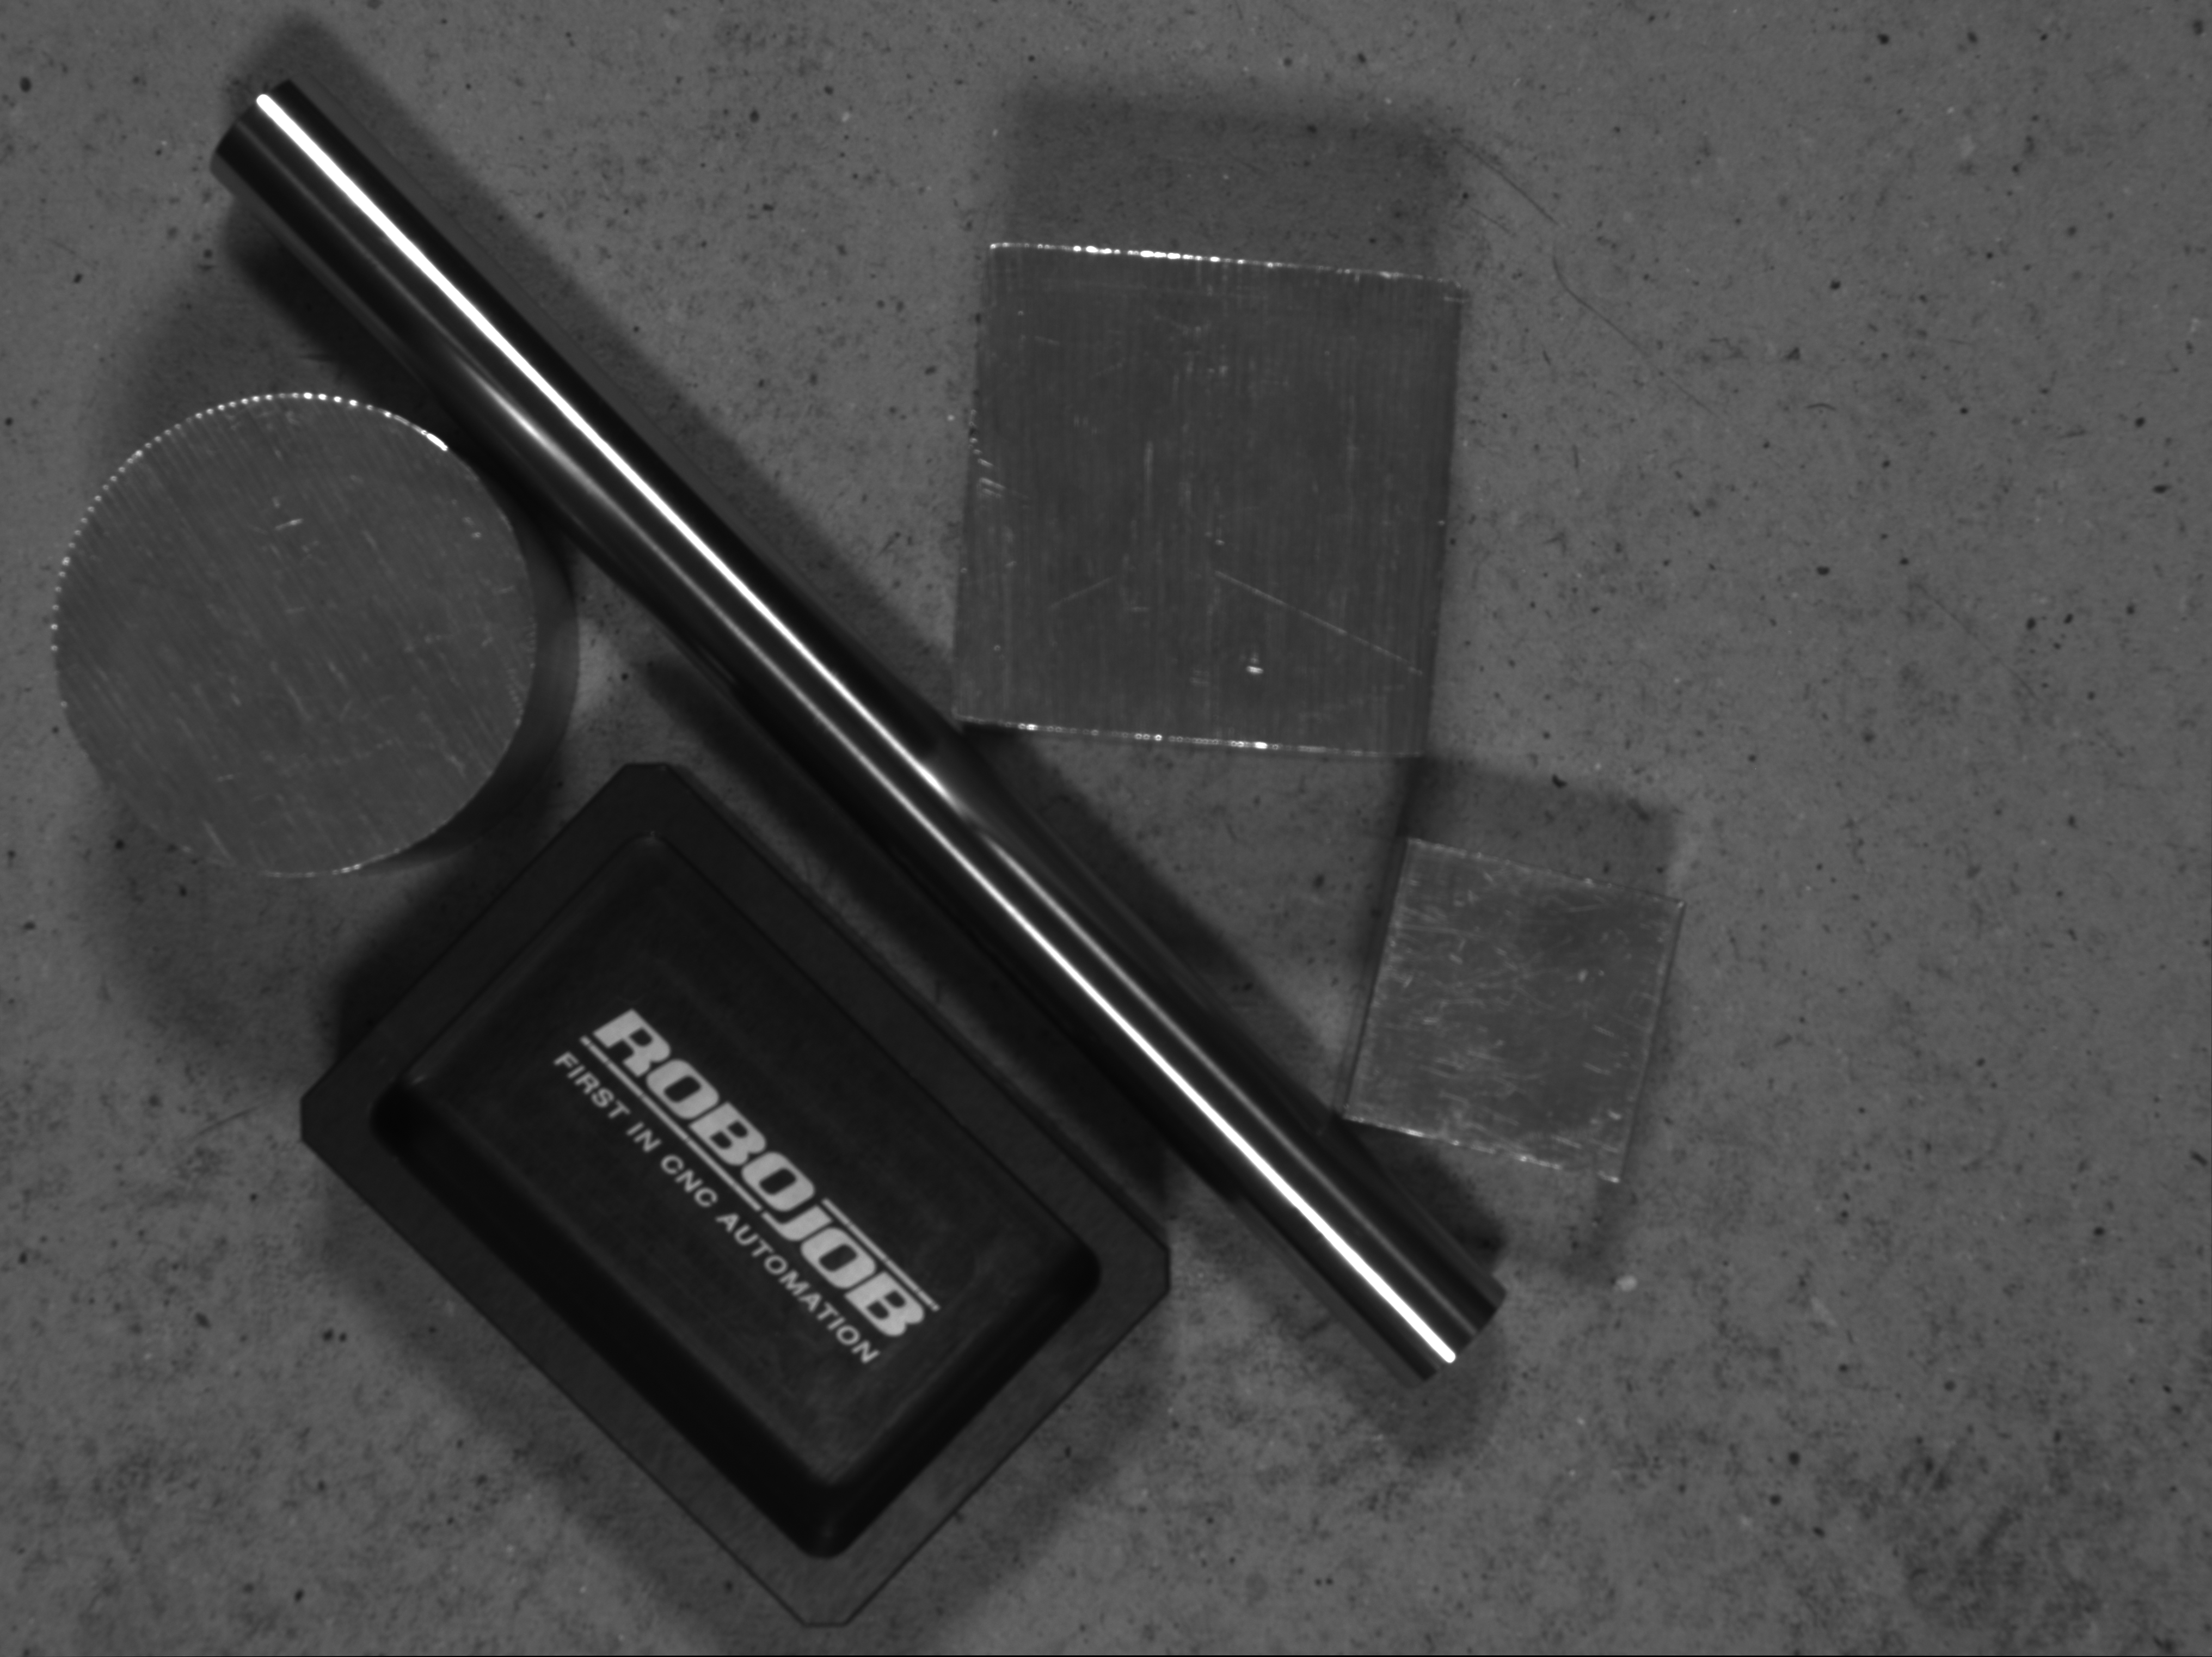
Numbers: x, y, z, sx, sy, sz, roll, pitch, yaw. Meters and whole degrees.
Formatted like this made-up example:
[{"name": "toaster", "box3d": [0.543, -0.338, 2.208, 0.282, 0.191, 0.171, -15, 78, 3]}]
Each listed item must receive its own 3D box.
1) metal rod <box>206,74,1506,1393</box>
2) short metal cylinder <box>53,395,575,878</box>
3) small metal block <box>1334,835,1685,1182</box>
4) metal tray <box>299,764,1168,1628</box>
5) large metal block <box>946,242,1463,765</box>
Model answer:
[{"name": "metal rod", "box3d": [-0.044, -0.016, 0.644, 0.025, 0.025, 0.300, -44, 90, 0]}, {"name": "short metal cylinder", "box3d": [-0.134, -0.032, 0.631, 0.080, 0.050, 0.080, 0, 90, 0]}, {"name": "small metal block", "box3d": [0.070, 0.031, 0.646, 0.050, 0.025, 0.050, 13, 90, 0]}, {"name": "metal tray", "box3d": [-0.064, 0.063, 0.642, 0.130, 0.030, 0.090, 44, 90, 0]}, {"name": "large metal block", "box3d": [0.016, -0.054, 0.633, 0.080, 0.050, 0.080, 4, 90, 0]}]
